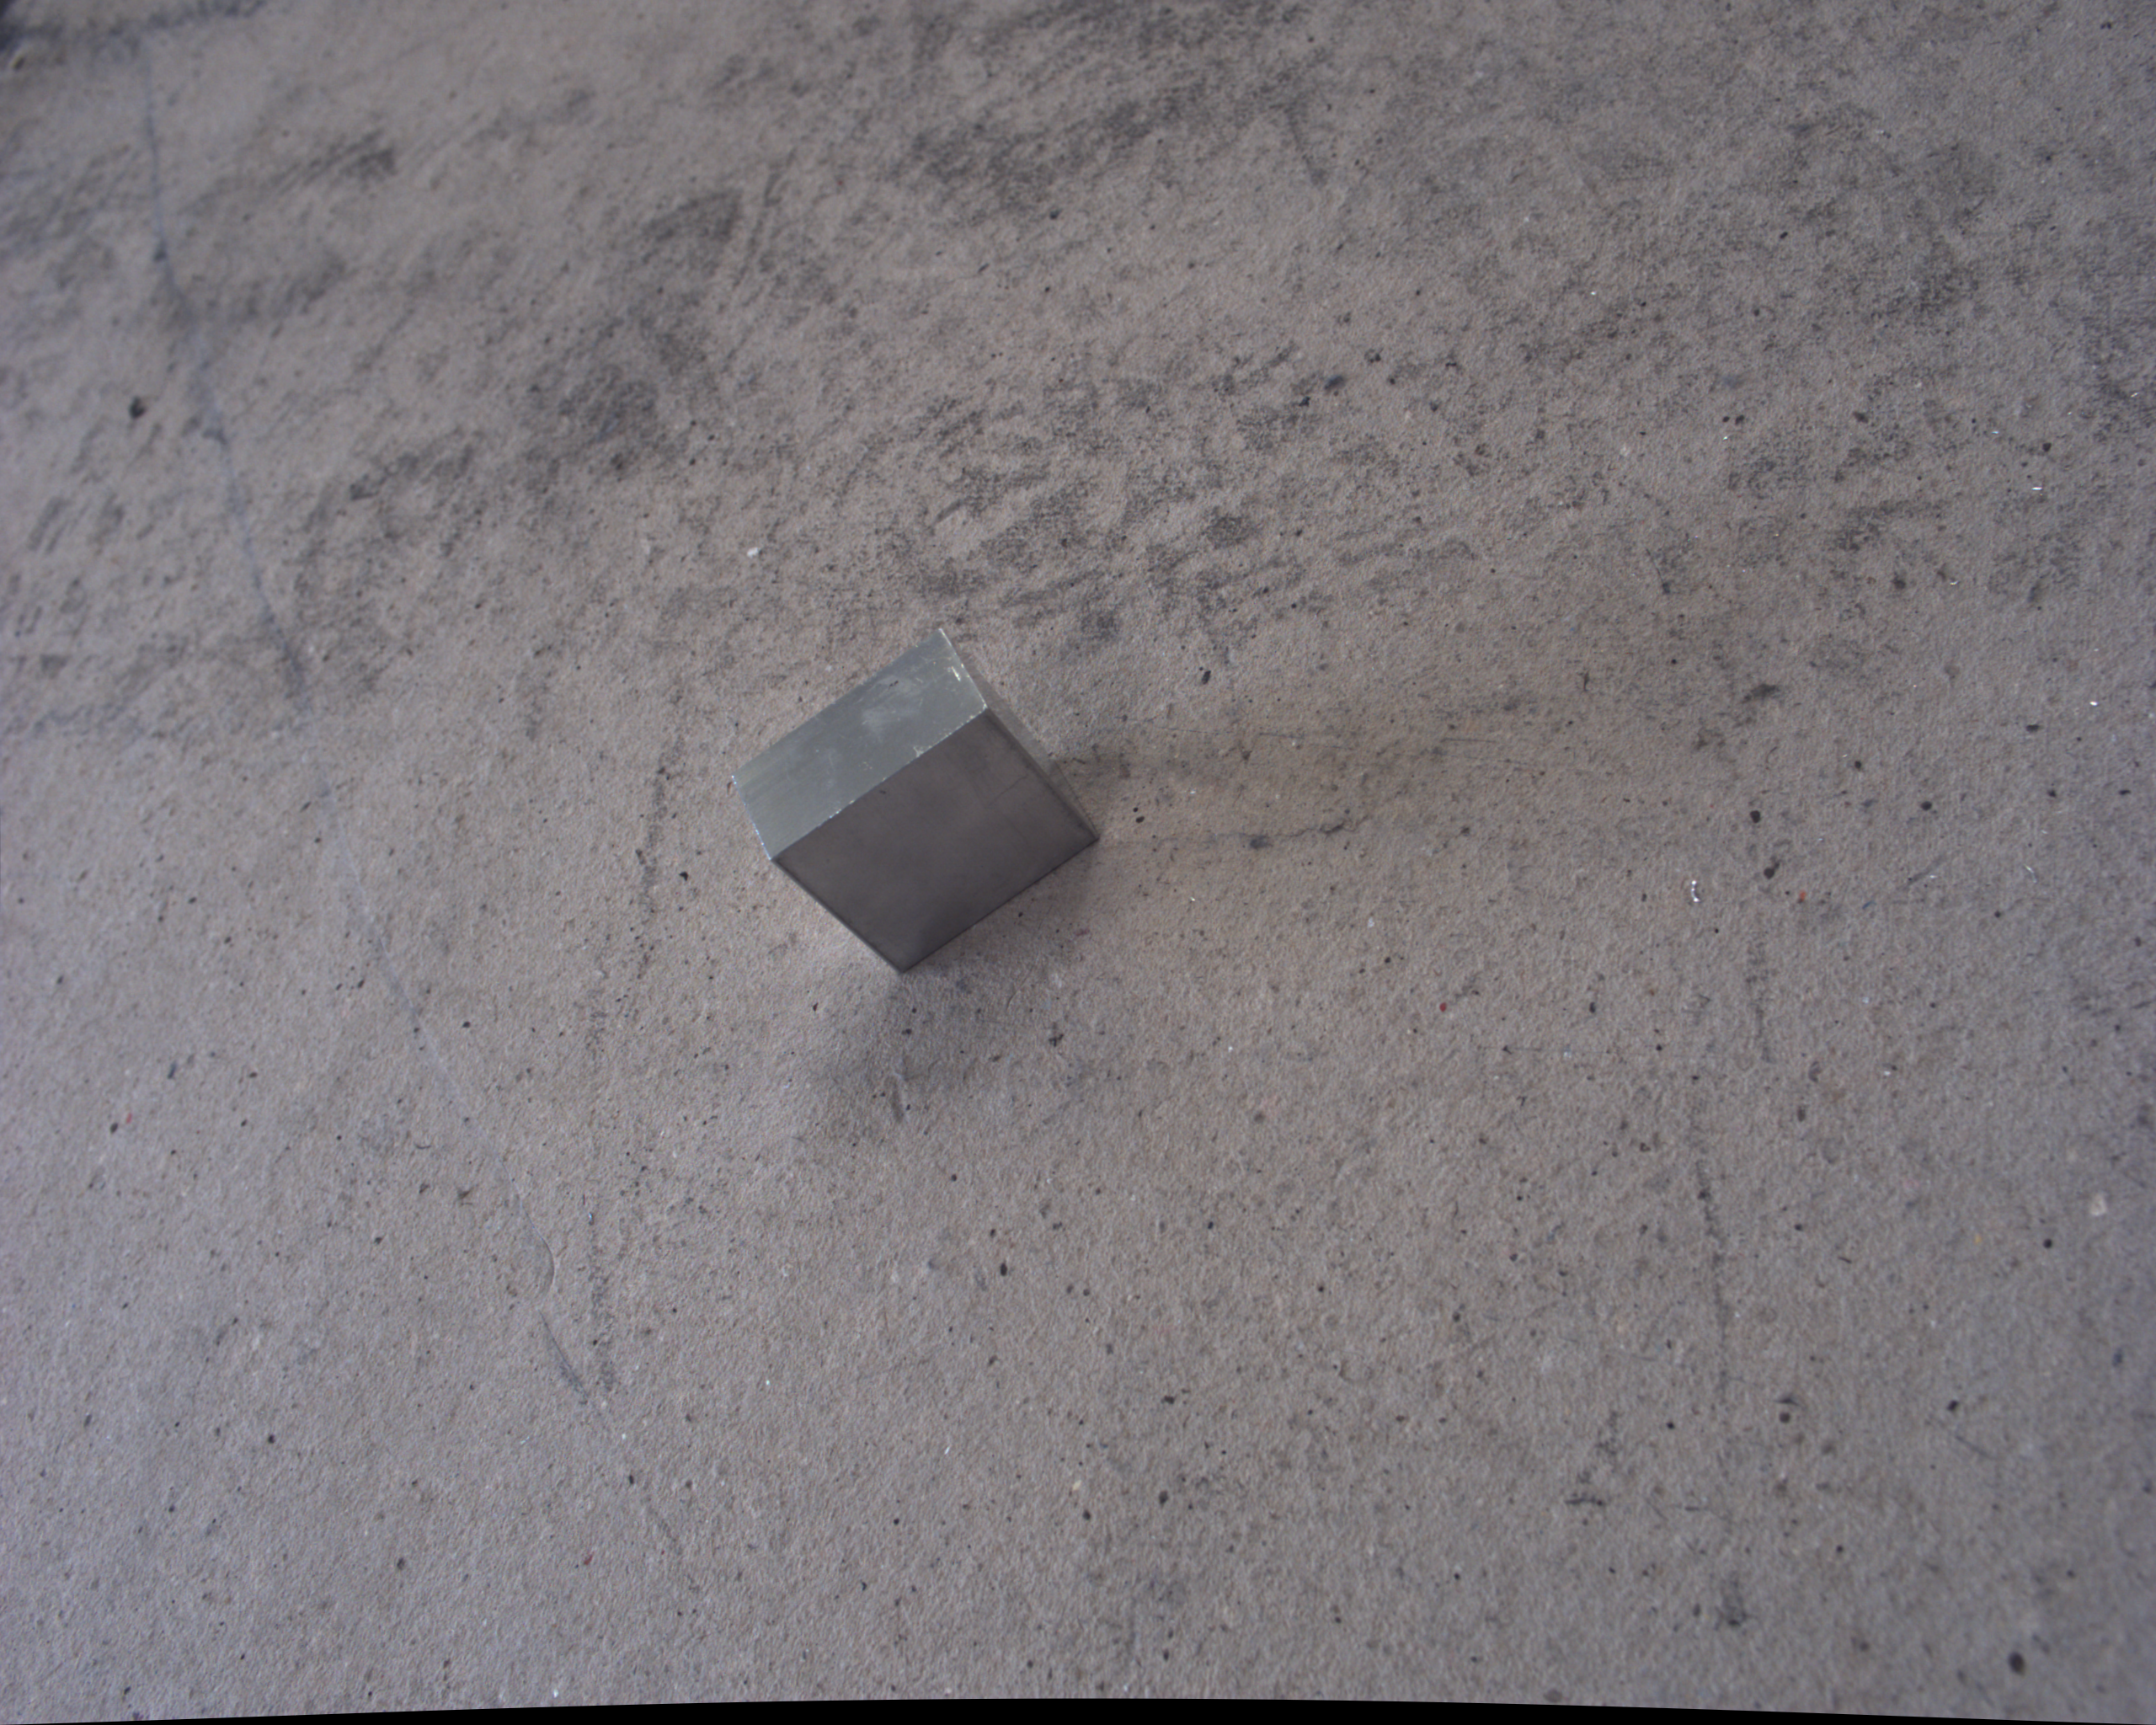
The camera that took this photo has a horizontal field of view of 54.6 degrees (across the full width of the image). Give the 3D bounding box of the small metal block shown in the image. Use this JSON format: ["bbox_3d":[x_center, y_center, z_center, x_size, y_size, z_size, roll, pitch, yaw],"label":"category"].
[{"bbox_3d":[-0.031,-0.011,0.414,0.050,0.050,0.025,-34,51,5],"label":"small metal block"}]
